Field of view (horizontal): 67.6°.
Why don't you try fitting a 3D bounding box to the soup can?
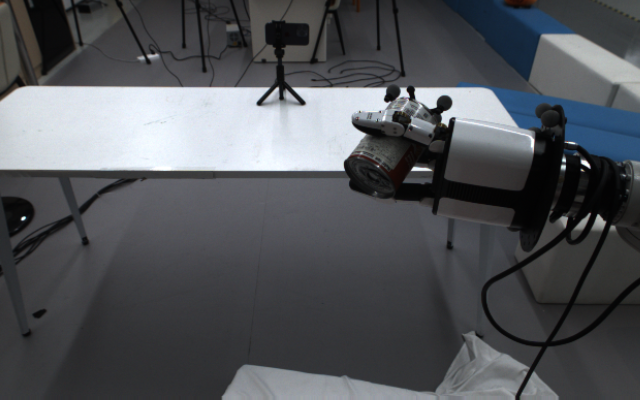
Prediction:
[{"bbox_3d":[0.083,-0.063,0.562,0.067,0.067,0.101,25,66,30],"label":"soup can"}]
